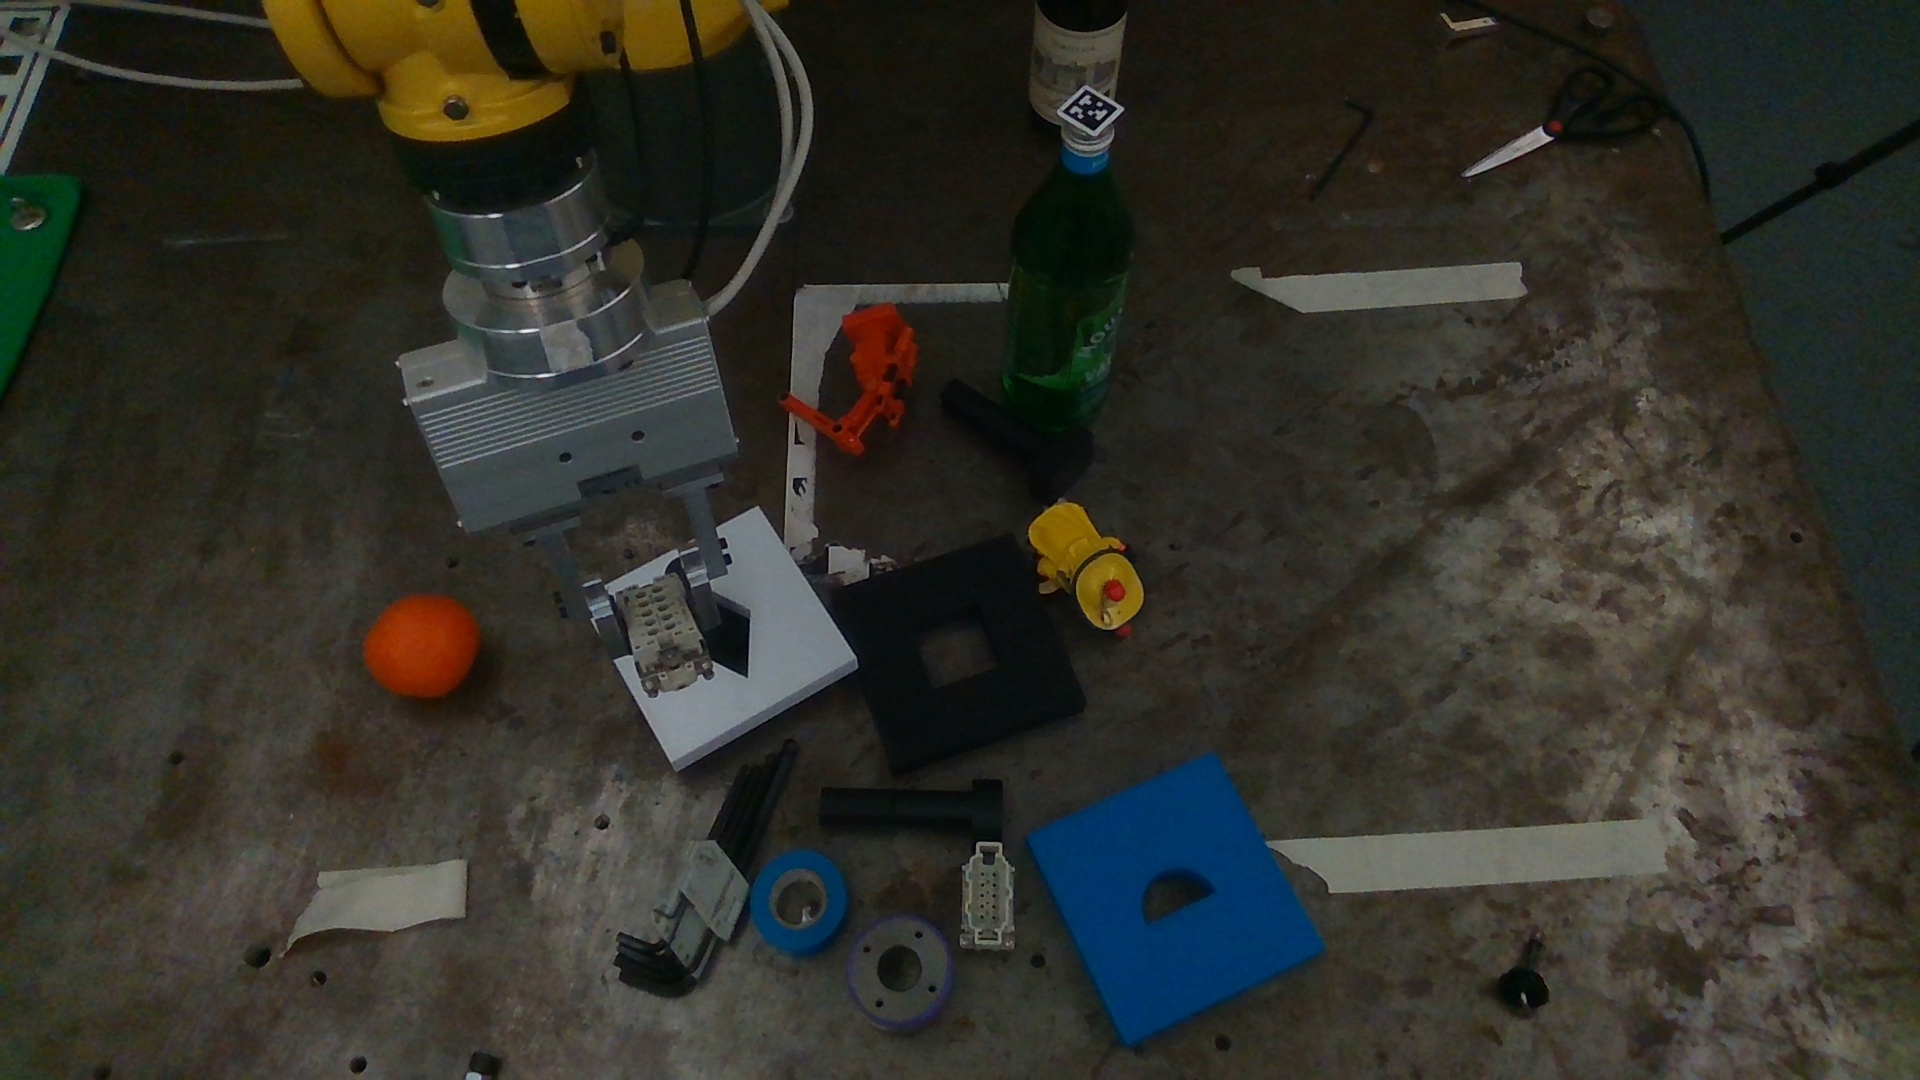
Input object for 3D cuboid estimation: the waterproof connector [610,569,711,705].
[{"bbox_3d":[-0.145,0.046,0.673,0.036,0.038,0.069,-19,46,-10],"label":"waterproof connector"}]
